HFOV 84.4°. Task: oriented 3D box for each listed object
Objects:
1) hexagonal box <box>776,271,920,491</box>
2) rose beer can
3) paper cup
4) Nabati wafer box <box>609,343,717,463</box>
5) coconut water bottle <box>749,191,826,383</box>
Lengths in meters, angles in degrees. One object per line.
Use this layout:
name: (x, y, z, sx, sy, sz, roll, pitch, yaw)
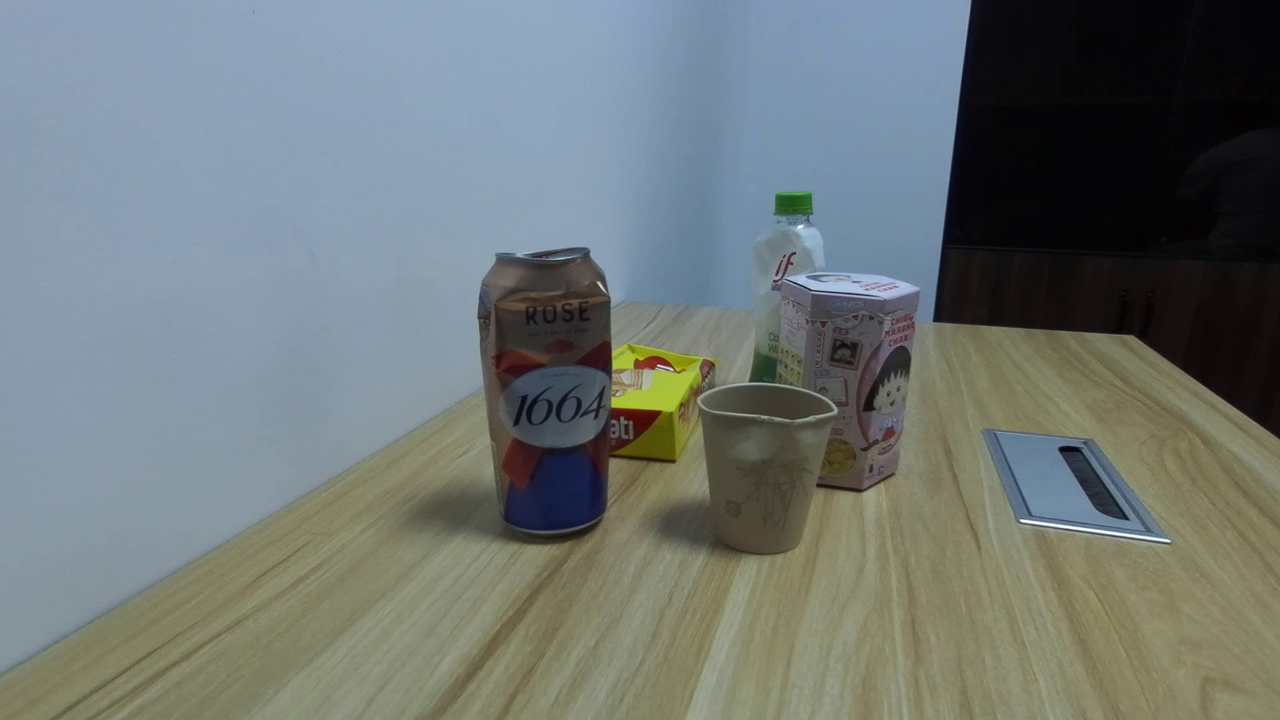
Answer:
hexagonal box: (0.141, 0.013, 0.492, 0.091, 0.136, 0.083, -16, 23, -42)
rose beer can: (-0.053, 0.019, 0.419, 0.076, 0.167, 0.065, -4, 15, -6)
paper cup: (0.071, 0.063, 0.409, 0.074, 0.081, 0.068, -5, 16, -20)
Nabati wafer box: (0.006, 0.025, 0.611, 0.096, 0.042, 0.203, 5, 16, 15)
coconut water bottle: (0.125, -0.046, 0.598, 0.067, 0.186, 0.067, 2, 6, 0)
